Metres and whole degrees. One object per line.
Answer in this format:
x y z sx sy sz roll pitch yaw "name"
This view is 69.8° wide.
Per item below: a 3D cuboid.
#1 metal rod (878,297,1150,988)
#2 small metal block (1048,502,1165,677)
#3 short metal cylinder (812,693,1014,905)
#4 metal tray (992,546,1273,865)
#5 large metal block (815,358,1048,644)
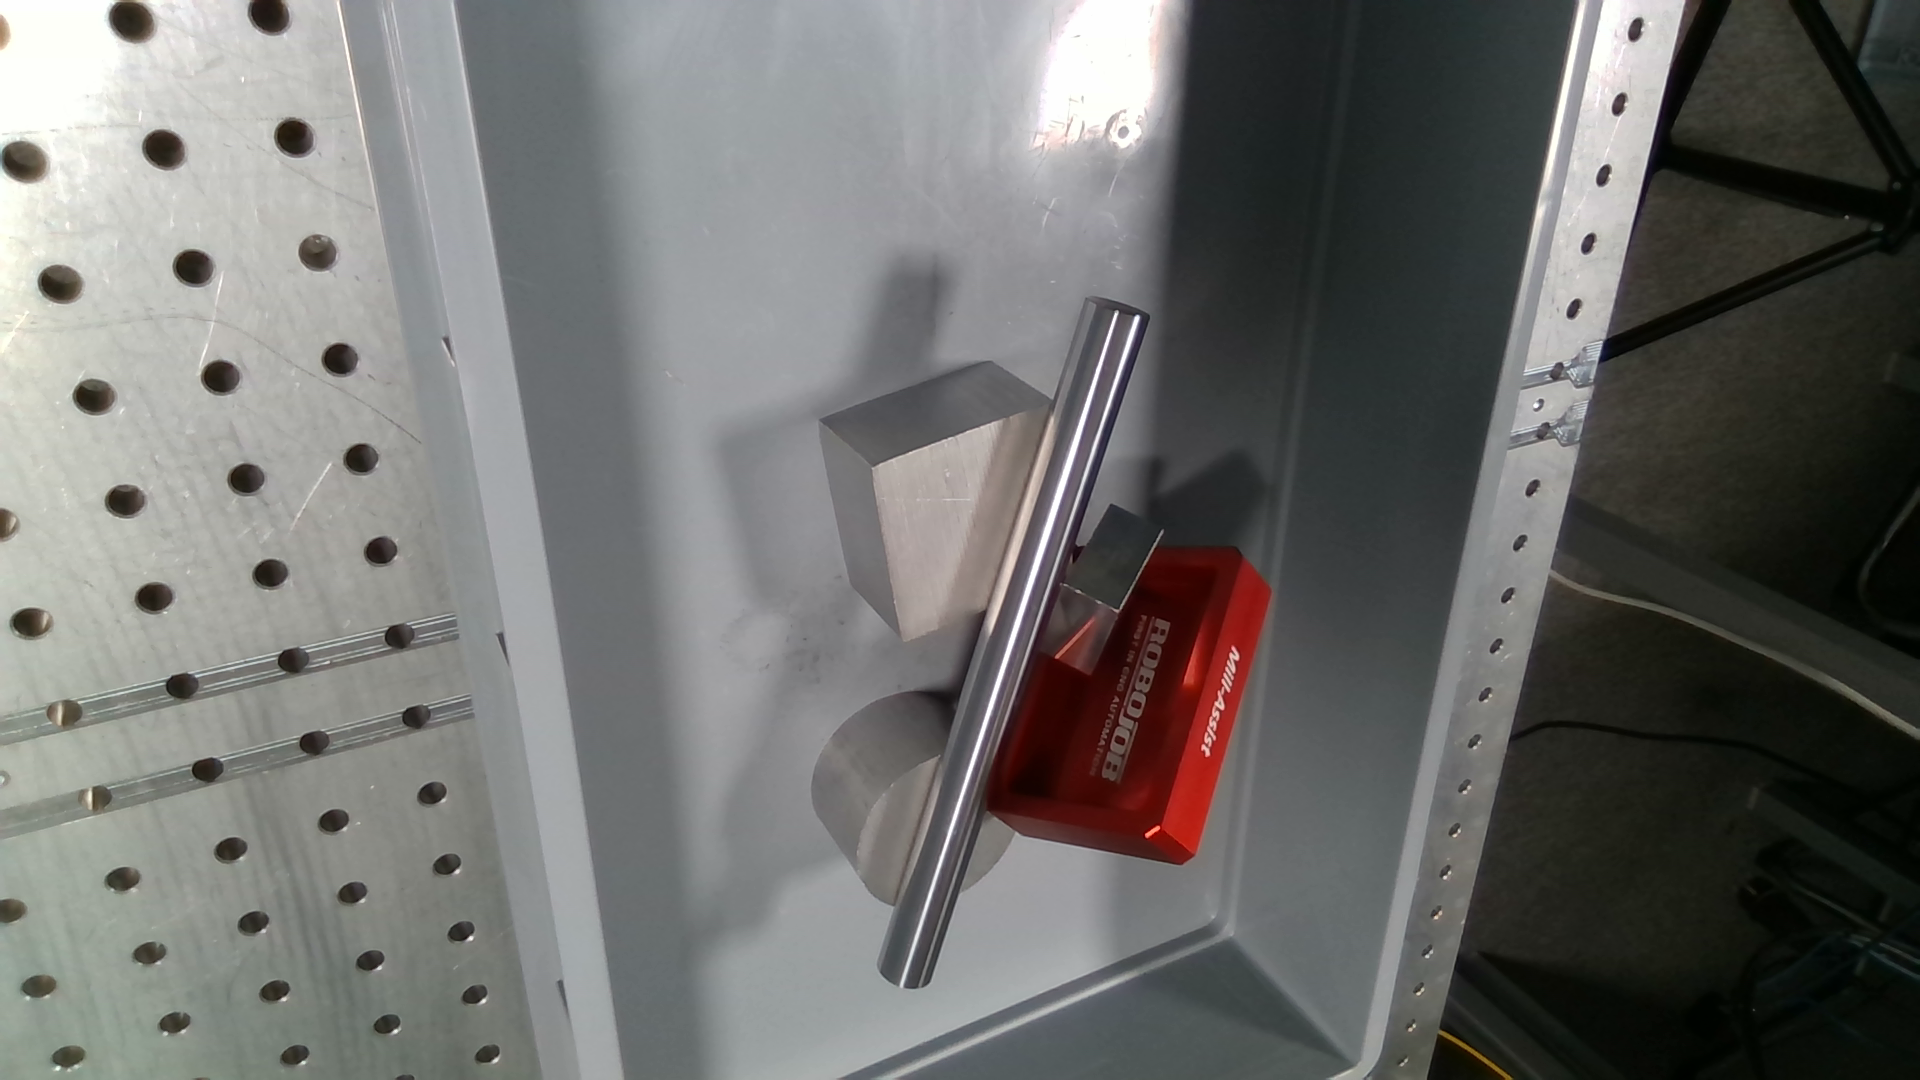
0.017 0.051 0.552 0.025 0.025 0.301 4 113 -33 "metal rod"
0.060 0.021 0.584 0.050 0.025 0.050 -57 169 -36 "small metal block"
-0.020 0.115 0.613 0.080 0.050 0.080 -14 122 -25 "short metal cylinder"
0.071 0.066 0.585 0.030 0.090 0.130 42 60 -40 "metal tray"
-0.005 -0.017 0.552 0.080 0.050 0.080 -22 124 -20 "large metal block"
